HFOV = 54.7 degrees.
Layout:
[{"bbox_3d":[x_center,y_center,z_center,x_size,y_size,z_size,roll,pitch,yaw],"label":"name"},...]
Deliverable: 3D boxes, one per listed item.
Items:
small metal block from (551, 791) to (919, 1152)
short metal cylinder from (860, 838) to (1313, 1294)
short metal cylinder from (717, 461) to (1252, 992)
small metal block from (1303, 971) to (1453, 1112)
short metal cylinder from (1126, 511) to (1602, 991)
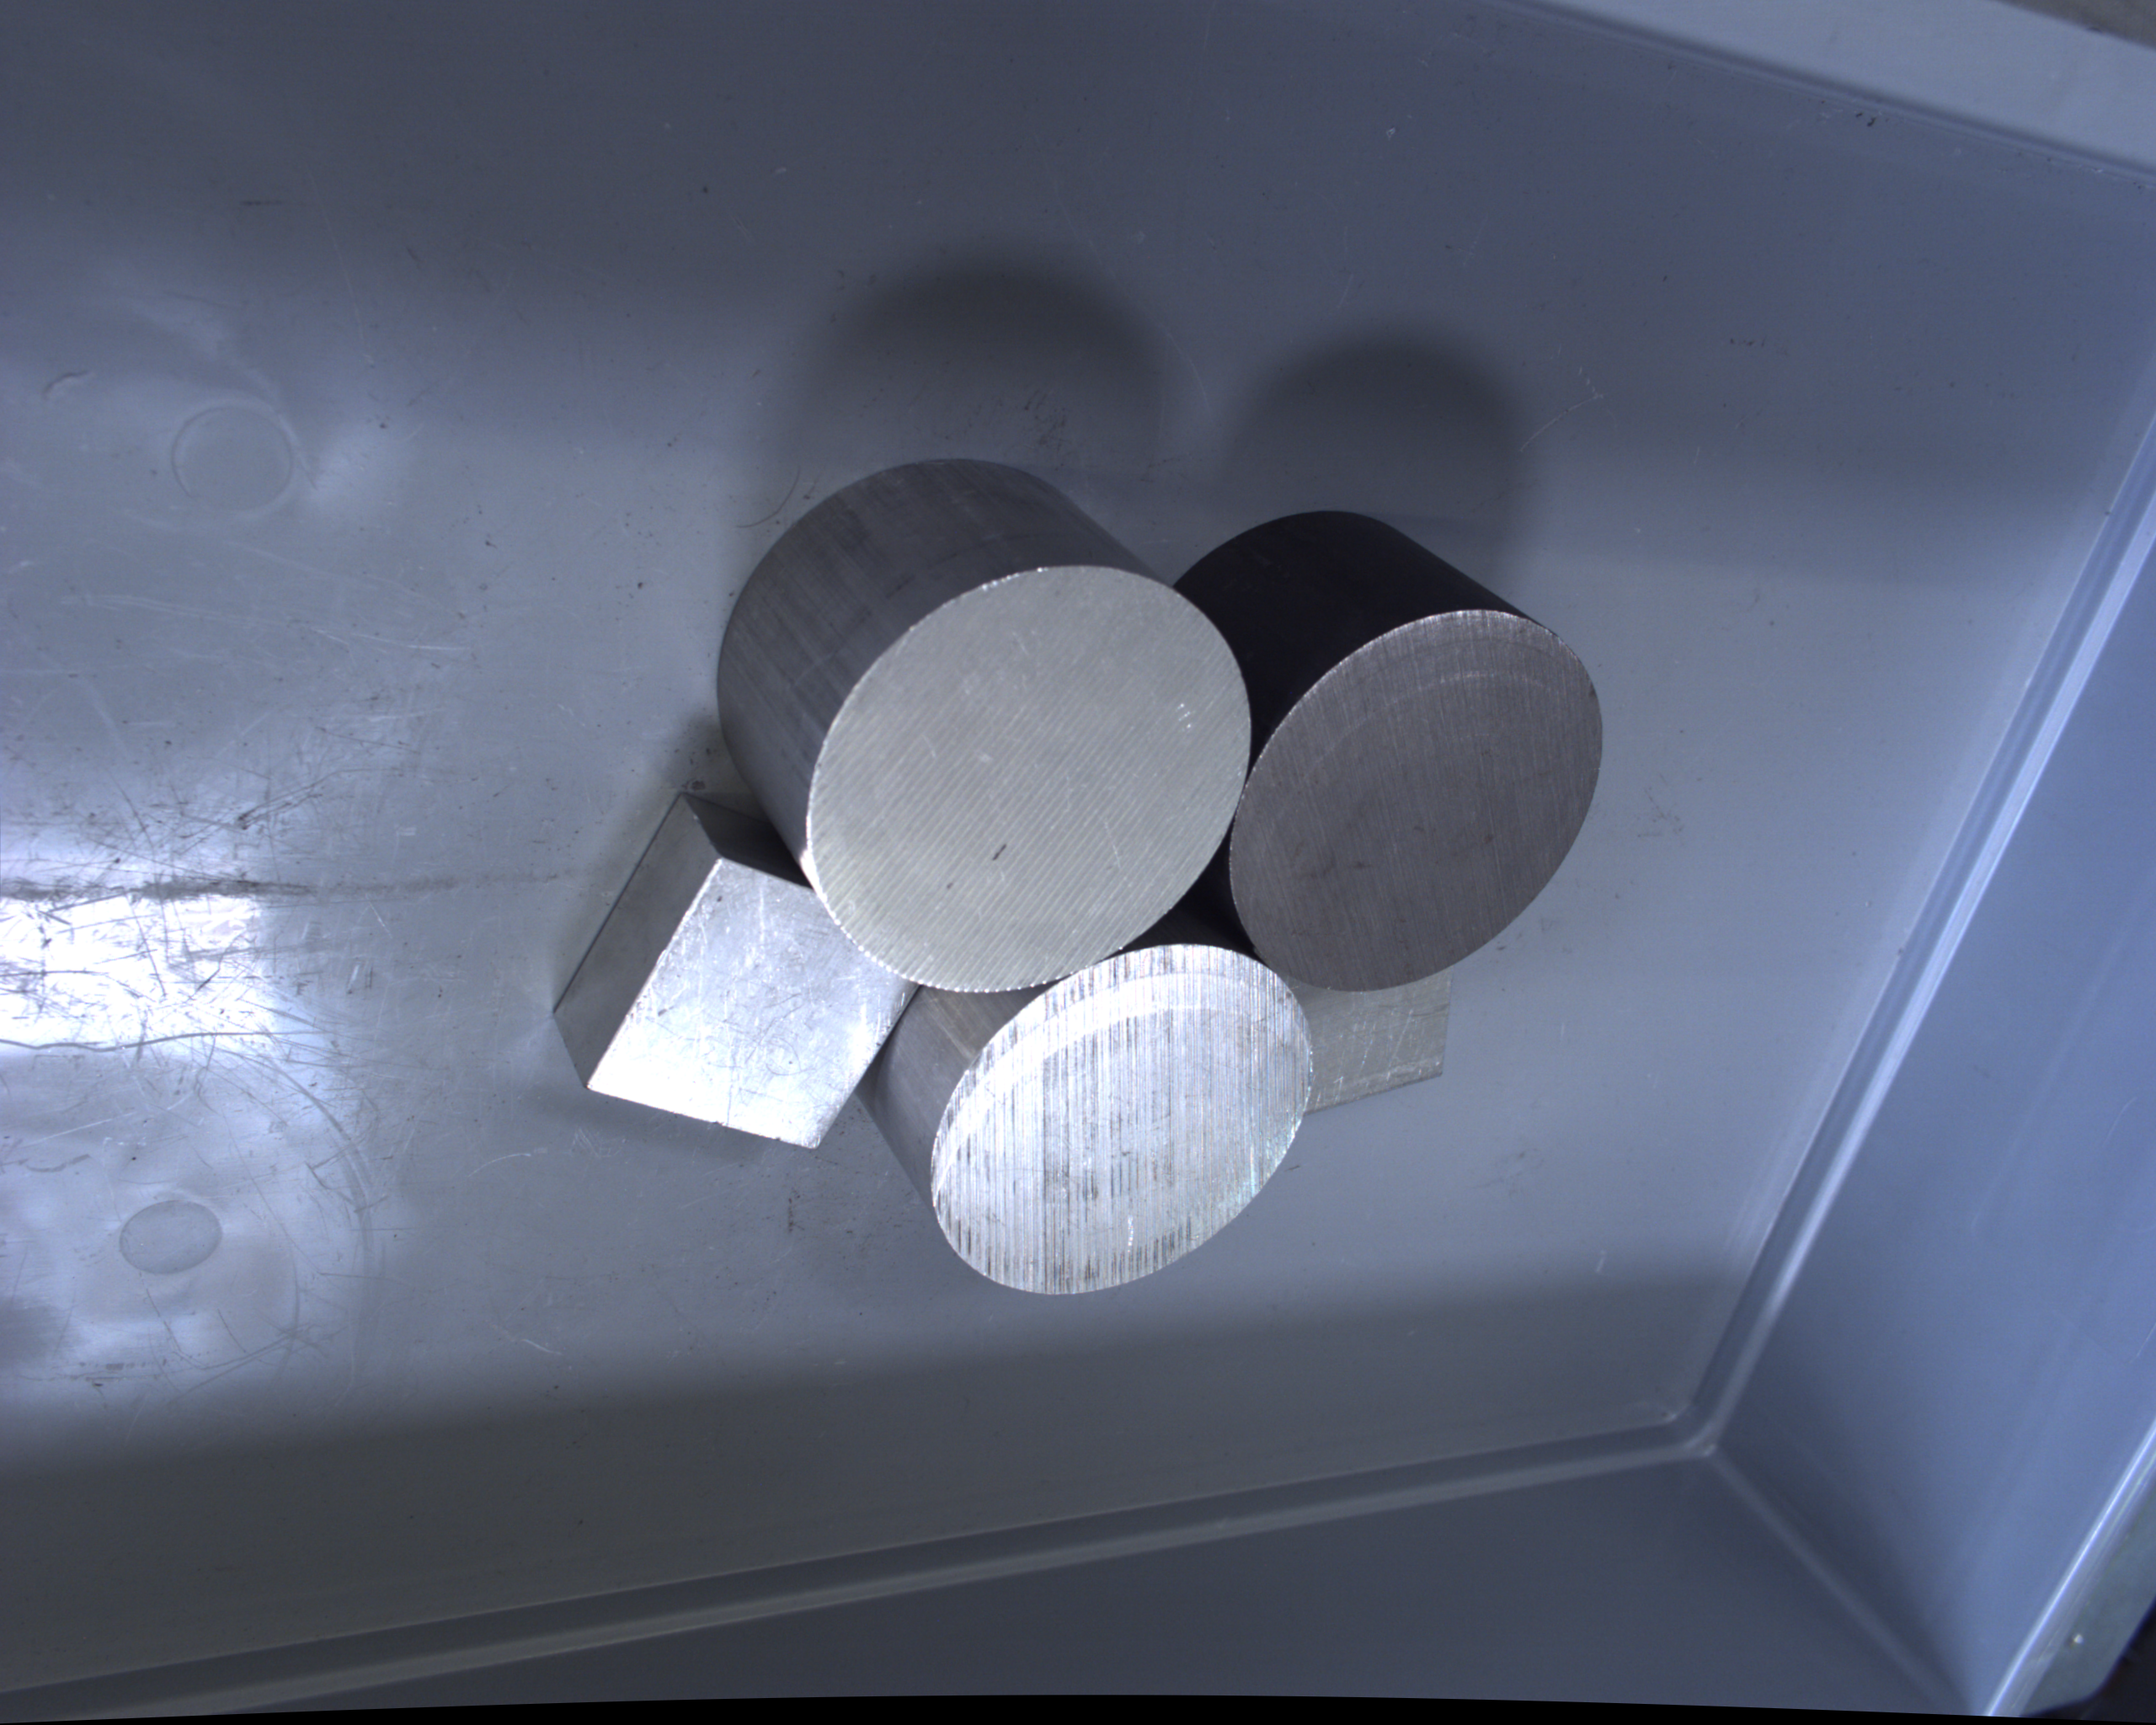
[{"bbox_3d":[-0.061,0.021,0.387,0.050,0.025,0.050,23,106,-37],"label":"small metal block"},{"bbox_3d":[-0.001,0.038,0.414,0.081,0.050,0.079,-14,124,-21],"label":"short metal cylinder"},{"bbox_3d":[-0.017,-0.024,0.366,0.081,0.050,0.079,-14,124,-21],"label":"short metal cylinder"},{"bbox_3d":[0.053,0.026,0.452,0.050,0.025,0.050,-13,124,-21],"label":"small metal block"},{"bbox_3d":[0.053,-0.022,0.406,0.081,0.050,0.079,-14,124,-21],"label":"short metal cylinder"}]
